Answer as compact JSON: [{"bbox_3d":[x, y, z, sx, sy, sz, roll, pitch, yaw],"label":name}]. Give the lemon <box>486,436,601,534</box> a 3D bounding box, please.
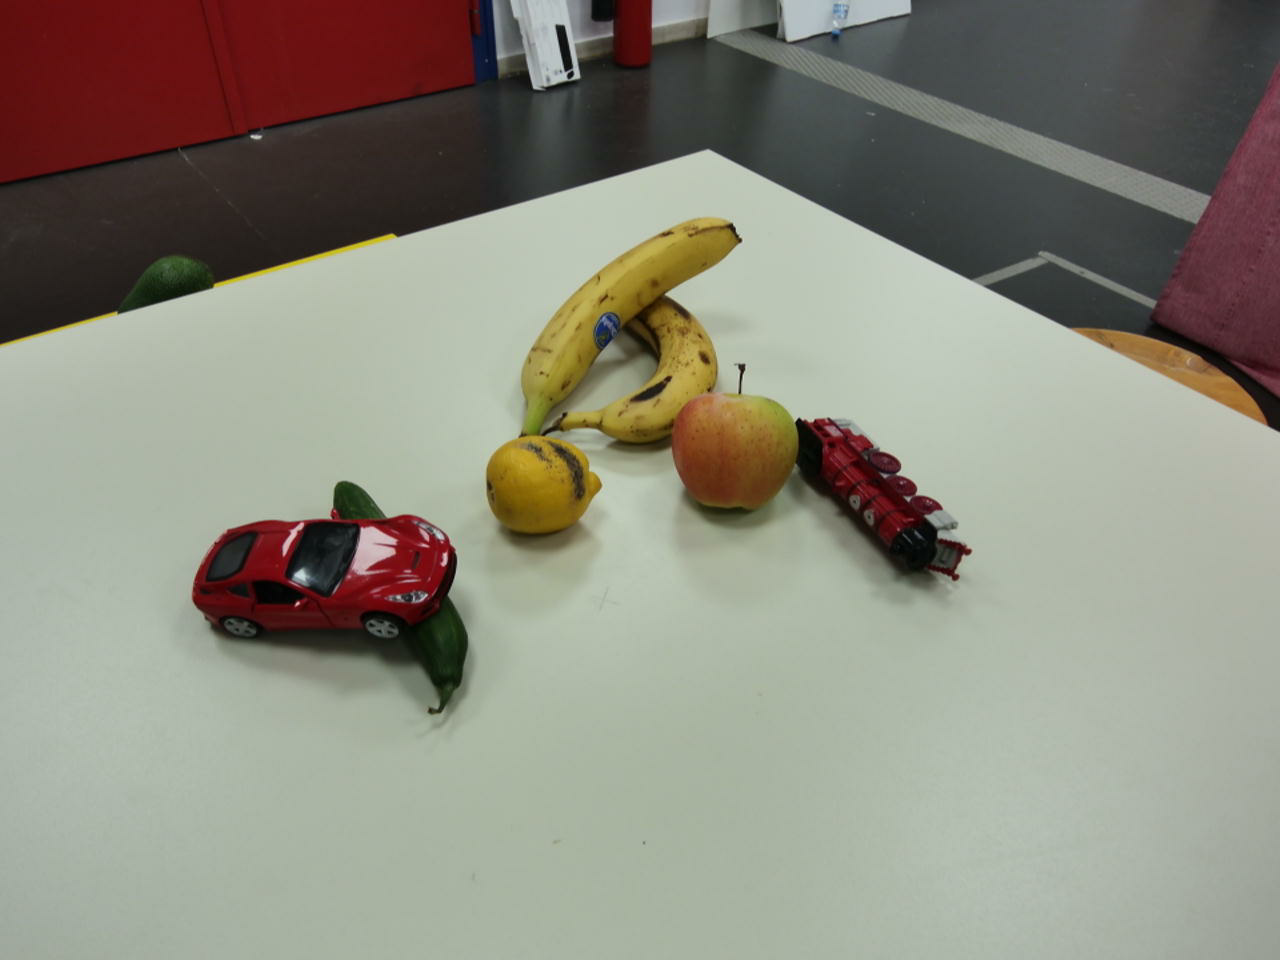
[{"bbox_3d":[-0.058,0.002,0.570,0.061,0.056,0.058,-31,48,-34],"label":"lemon"}]
